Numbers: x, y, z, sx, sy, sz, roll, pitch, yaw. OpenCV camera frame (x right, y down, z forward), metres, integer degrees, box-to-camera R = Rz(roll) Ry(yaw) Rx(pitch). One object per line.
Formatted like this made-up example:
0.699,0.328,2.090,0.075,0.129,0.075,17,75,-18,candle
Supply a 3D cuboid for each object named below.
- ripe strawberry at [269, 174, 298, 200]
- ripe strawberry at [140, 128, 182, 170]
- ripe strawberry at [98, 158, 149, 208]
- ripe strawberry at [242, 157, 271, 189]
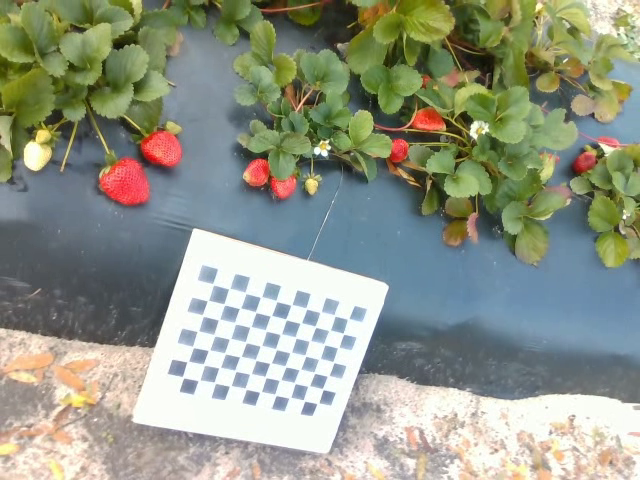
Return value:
-0.051,-0.076,0.890,0.043,0.041,0.049,11,39,-18,ripe strawberry
-0.205,-0.117,0.845,0.060,0.051,0.051,46,6,27,ripe strawberry
-0.244,-0.070,0.819,0.058,0.065,0.044,-41,5,3,ripe strawberry
-0.091,-0.093,0.886,0.038,0.047,0.053,18,27,38,ripe strawberry
